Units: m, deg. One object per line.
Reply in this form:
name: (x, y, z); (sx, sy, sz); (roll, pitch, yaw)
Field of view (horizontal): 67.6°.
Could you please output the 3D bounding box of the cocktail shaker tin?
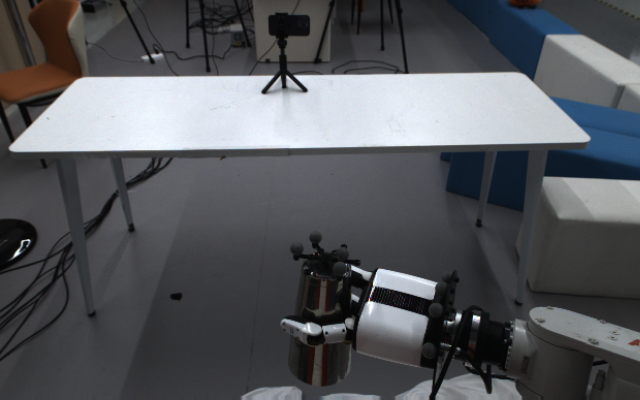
cocktail shaker tin: (0.005, 0.160, 0.671); (0.093, 0.170, 0.093); (2, 25, -1)
